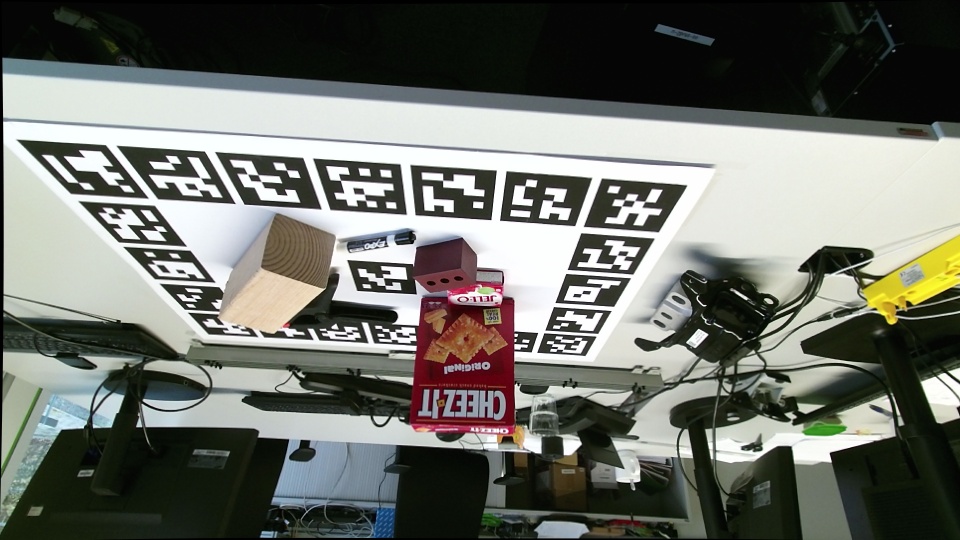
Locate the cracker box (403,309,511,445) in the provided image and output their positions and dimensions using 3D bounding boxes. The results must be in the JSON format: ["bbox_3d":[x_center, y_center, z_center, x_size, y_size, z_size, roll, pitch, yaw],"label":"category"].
[{"bbox_3d":[-0.033,0.170,0.882,0.165,0.212,0.072,2,147,3],"label":"cracker box"}]

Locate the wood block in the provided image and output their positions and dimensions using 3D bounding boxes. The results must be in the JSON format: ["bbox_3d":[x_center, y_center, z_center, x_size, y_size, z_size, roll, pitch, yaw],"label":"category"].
[{"bbox_3d":[-0.302,0.016,0.792,0.090,0.090,0.206,23,144,-31],"label":"wood block"}]

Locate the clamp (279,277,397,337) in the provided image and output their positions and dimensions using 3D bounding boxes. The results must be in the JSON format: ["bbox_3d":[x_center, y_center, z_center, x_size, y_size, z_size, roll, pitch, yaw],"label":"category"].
[{"bbox_3d":[-0.270,0.082,0.930,0.203,0.036,0.166,-16,142,24],"label":"clamp"}]

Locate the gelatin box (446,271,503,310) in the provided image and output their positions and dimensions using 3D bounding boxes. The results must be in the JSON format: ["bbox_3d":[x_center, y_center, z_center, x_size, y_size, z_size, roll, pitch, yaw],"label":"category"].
[{"bbox_3d":[-0.010,0.033,0.854,0.090,0.030,0.073,2,144,-1],"label":"gelatin box"}]

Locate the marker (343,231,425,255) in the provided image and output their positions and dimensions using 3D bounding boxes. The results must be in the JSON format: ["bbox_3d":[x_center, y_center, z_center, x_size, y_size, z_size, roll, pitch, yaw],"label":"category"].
[{"bbox_3d":[-0.135,-0.037,0.758,0.121,0.019,0.020,-9,143,15],"label":"marker"}]

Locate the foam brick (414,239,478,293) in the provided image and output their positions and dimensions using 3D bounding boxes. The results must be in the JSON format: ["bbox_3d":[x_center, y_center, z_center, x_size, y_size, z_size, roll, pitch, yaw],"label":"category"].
[{"bbox_3d":[-0.047,-0.004,0.778,0.078,0.051,0.053,-12,142,19],"label":"foam brick"}]
